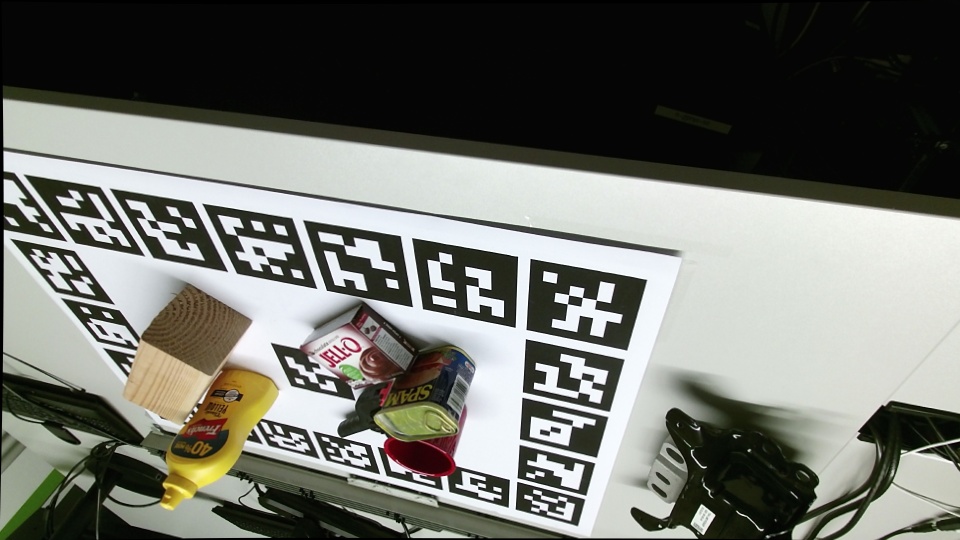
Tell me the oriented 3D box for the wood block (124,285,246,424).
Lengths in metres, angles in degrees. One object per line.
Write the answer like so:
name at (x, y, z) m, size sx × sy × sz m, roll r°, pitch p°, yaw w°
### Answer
wood block at (-0.399, 0.121, 0.711) m, size 0.090 × 0.090 × 0.206 m, roll 35°, pitch 135°, yaw -15°

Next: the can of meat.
can of meat at (-0.064, 0.144, 0.605) m, size 0.102 × 0.083 × 0.058 m, roll -17°, pitch 122°, yaw 31°

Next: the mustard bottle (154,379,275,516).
mustard bottle at (-0.372, 0.240, 0.732) m, size 0.096 × 0.191 × 0.058 m, roll 5°, pitch 131°, yaw 15°

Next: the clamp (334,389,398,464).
clamp at (-0.143, 0.219, 0.747) m, size 0.122 × 0.036 × 0.165 m, roll 24°, pitch 132°, yaw 0°

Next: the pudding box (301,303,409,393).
pudding box at (-0.152, 0.095, 0.631) m, size 0.114 × 0.038 × 0.090 m, roll -26°, pitch 118°, yaw 37°

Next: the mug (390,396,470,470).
mug at (-0.065, 0.205, 0.700) m, size 0.093 × 0.081 × 0.117 m, roll 25°, pitch 132°, yaw -4°
